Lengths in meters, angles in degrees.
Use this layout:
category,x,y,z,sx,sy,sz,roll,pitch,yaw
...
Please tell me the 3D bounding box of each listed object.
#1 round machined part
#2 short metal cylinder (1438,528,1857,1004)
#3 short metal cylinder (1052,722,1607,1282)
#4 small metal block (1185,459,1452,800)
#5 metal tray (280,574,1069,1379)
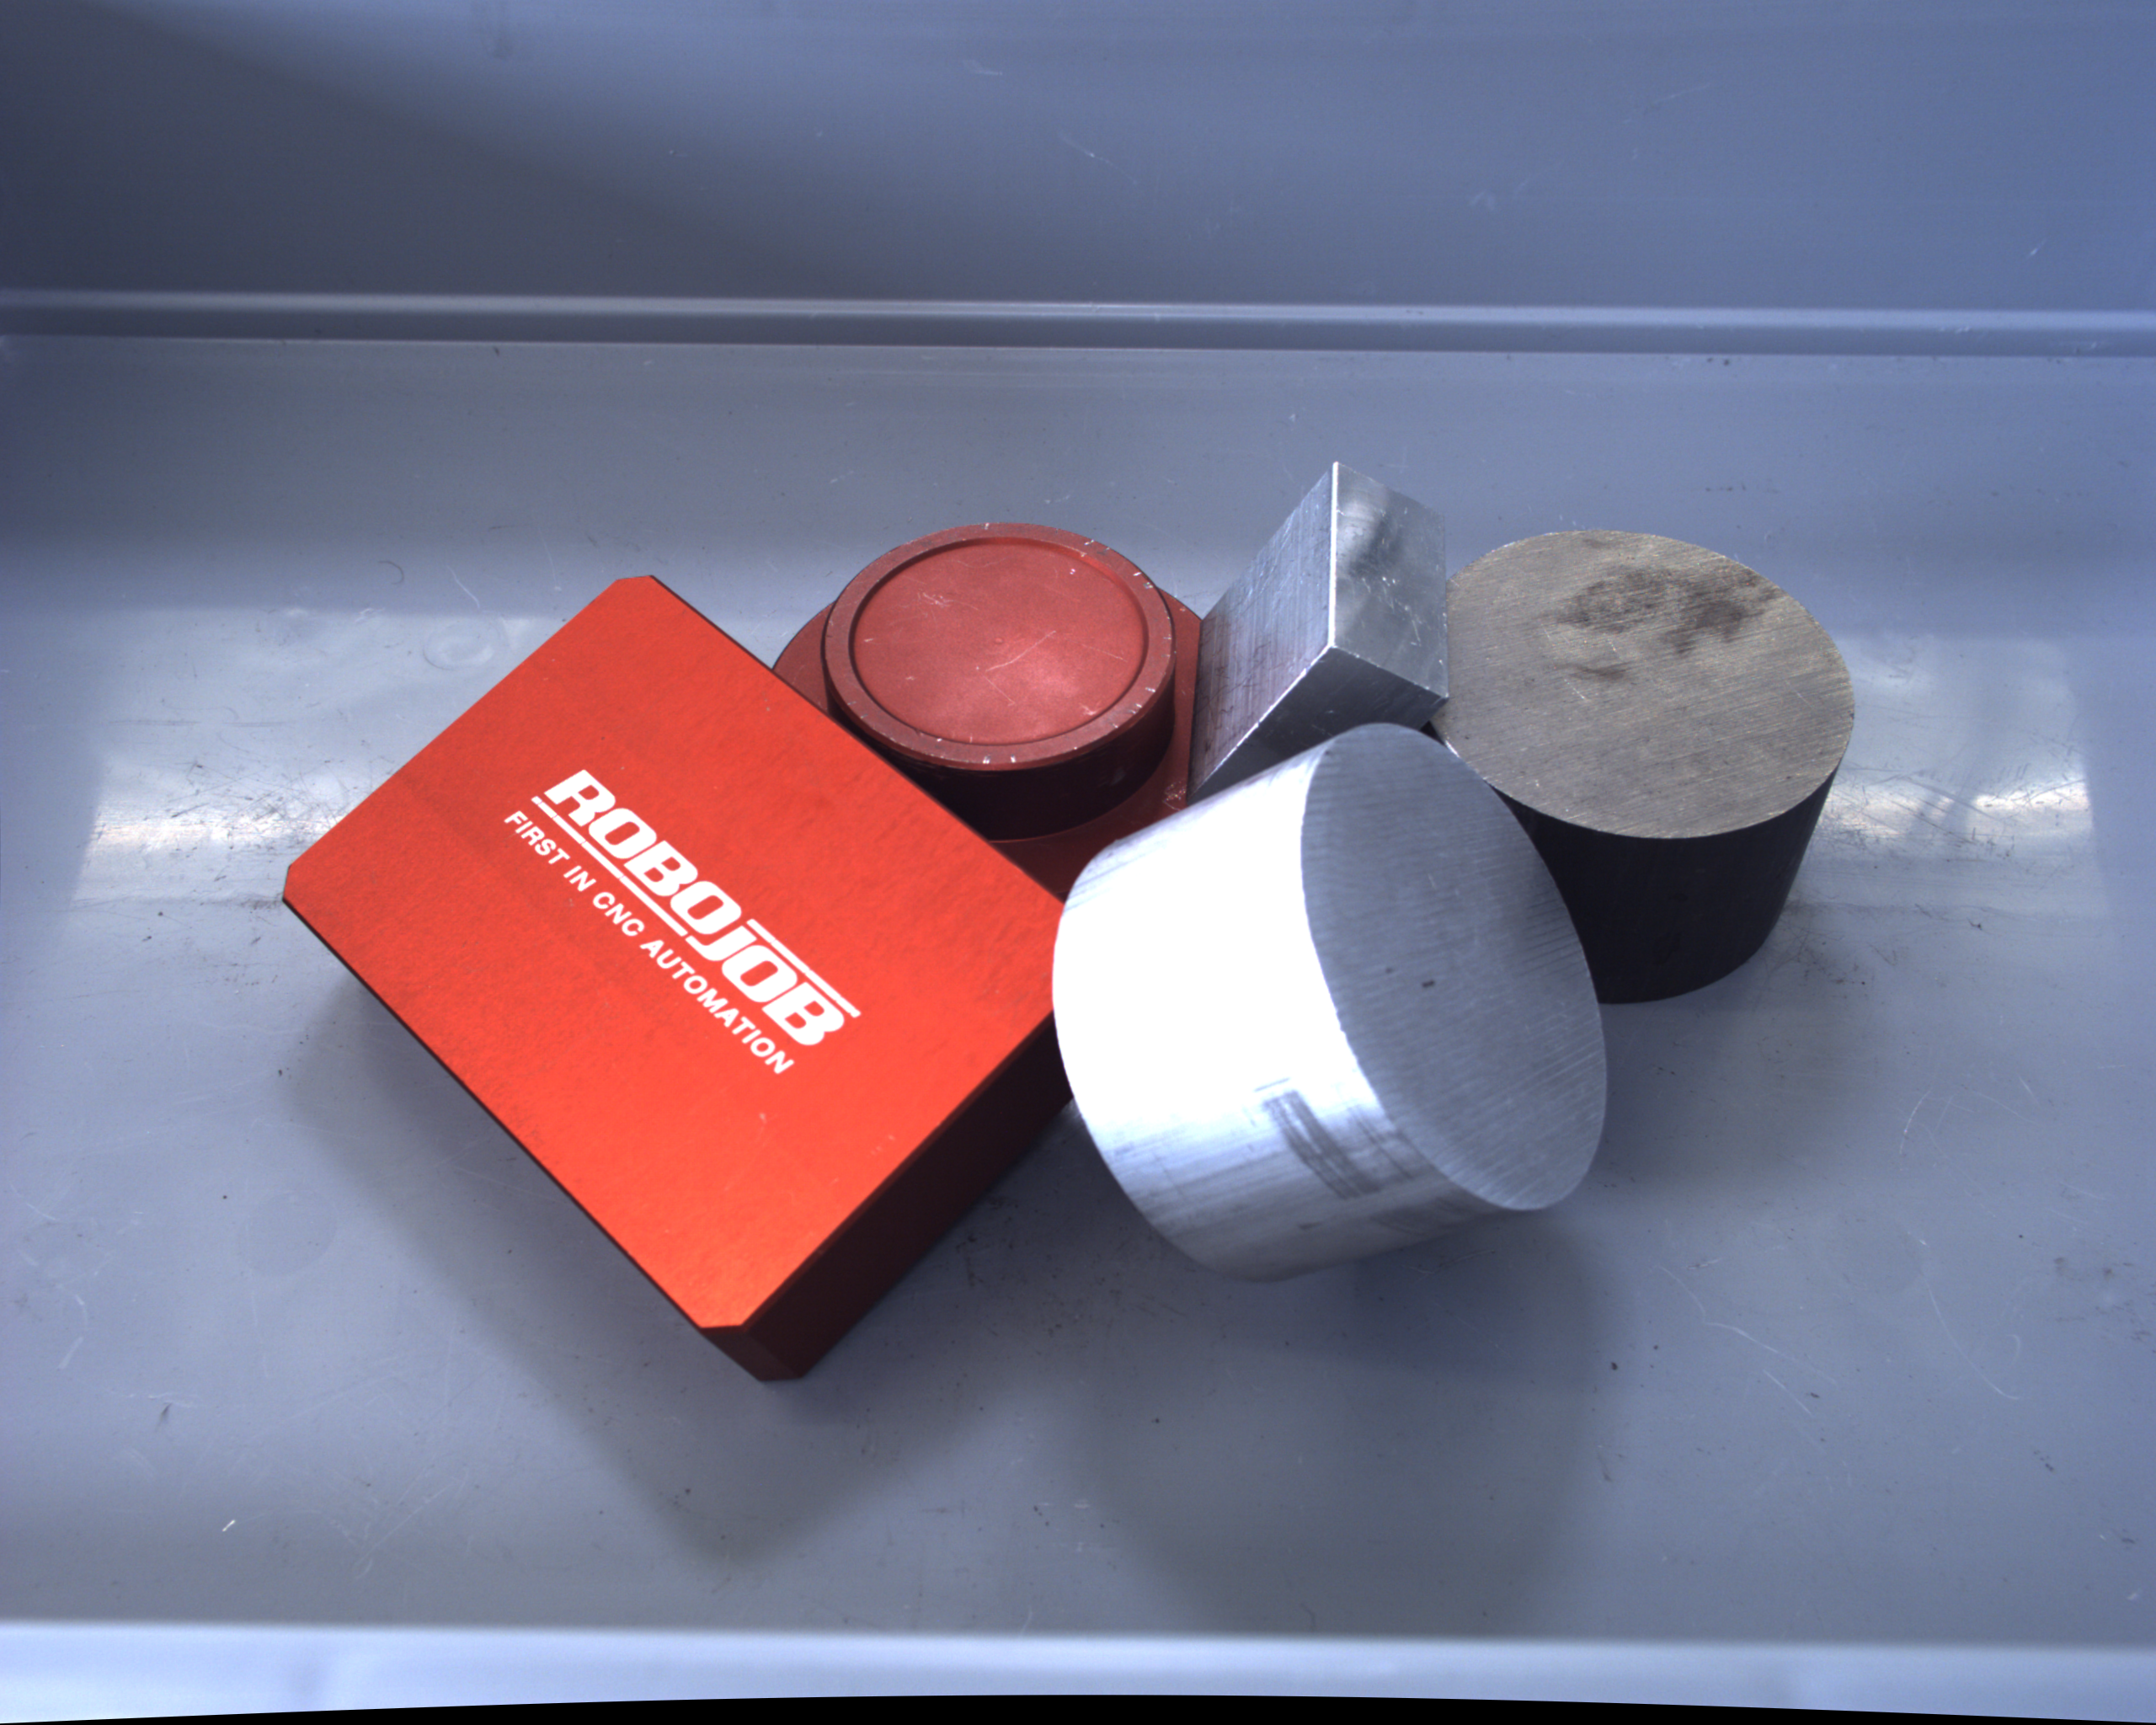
category,x,y,z,sx,sy,sz,roll,pitch,yaw
round machined part,-0.015,-0.031,0.417,0.099,0.042,0.098,0,50,0
short metal cylinder,0.102,-0.019,0.404,0.081,0.050,0.080,0,50,0
short metal cylinder,0.042,0.023,0.339,0.050,0.080,0.080,-26,38,37
small metal block,0.045,-0.039,0.395,0.025,0.050,0.050,23,47,-18
metal tray,-0.067,0.015,0.371,0.130,0.030,0.090,38,74,27
